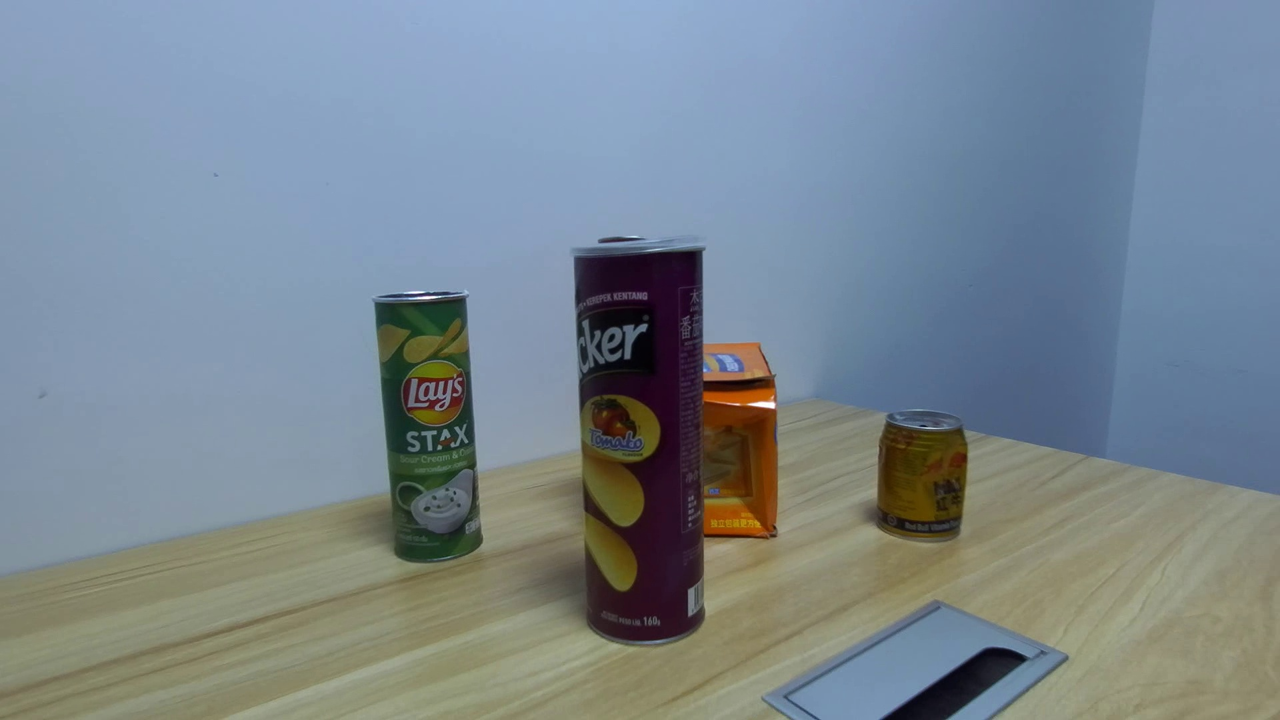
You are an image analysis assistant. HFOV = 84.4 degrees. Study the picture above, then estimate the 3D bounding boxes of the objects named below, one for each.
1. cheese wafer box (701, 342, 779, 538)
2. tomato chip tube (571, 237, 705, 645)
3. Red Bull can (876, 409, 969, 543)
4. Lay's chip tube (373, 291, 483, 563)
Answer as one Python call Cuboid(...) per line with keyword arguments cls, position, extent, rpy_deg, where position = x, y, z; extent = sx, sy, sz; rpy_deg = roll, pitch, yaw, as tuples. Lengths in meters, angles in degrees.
Cuboid(cls="cheese wafer box", position=(0.048, 0.061, 0.660), extent=(0.149, 0.137, 0.227), rpy_deg=(1, 9, 6))
Cuboid(cls="tomato chip tube", position=(0.002, 0.050, 0.434), extent=(0.078, 0.233, 0.078), rpy_deg=(-2, 10, 1))
Cuboid(cls="Red Bull can", position=(0.227, 0.092, 0.573), extent=(0.069, 0.092, 0.069), rpy_deg=(-1, 10, 0))
Cuboid(cls="Lay's chip tube", position=(-0.164, 0.049, 0.553), extent=(0.071, 0.202, 0.071), rpy_deg=(-1, 9, 0))
